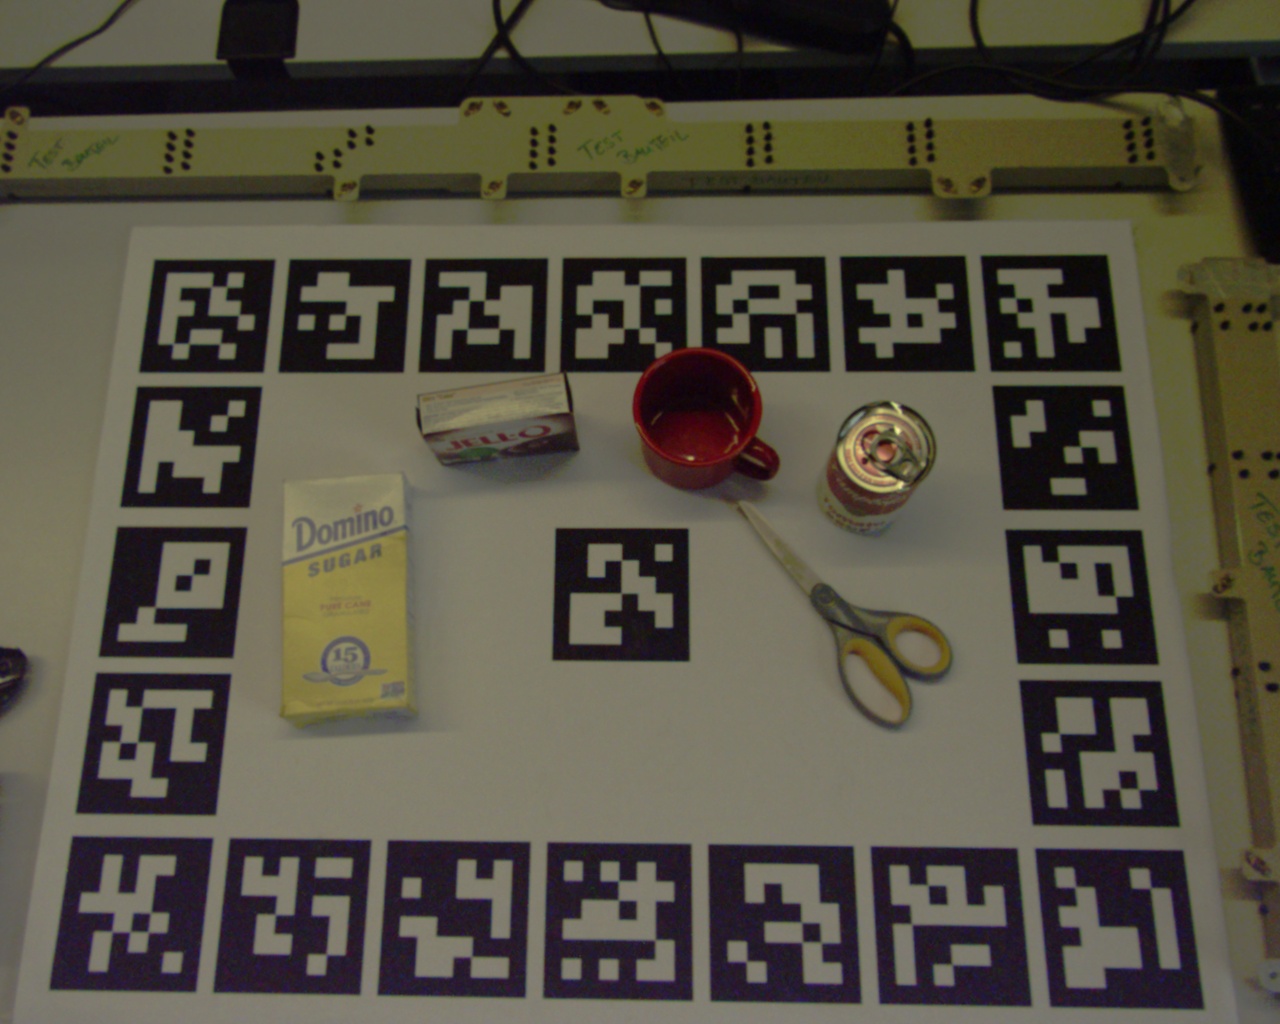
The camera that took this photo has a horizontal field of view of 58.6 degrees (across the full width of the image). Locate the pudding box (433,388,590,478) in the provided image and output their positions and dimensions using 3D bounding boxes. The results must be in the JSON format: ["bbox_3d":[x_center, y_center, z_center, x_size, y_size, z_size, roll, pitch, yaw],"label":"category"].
[{"bbox_3d":[-0.097,-0.060,0.875,0.114,0.090,0.039,-9,82,-1],"label":"pudding box"}]

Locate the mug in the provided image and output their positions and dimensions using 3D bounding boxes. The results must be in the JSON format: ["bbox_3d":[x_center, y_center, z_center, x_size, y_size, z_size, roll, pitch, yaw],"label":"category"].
[{"bbox_3d":[0.052,-0.057,0.876,0.093,0.081,0.118,-35,76,-5],"label":"mug"}]

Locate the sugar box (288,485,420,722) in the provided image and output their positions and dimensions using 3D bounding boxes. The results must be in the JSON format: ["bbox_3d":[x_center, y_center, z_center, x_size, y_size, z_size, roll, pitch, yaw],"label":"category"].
[{"bbox_3d":[-0.218,0.070,0.876,0.093,0.045,0.177,-3,77,3],"label":"sugar box"}]

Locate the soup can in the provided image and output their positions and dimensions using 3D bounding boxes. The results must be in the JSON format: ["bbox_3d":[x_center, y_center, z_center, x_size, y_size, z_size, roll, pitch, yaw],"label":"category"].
[{"bbox_3d":[0.168,-0.019,0.859,0.068,0.102,0.068,-1,74,2],"label":"soup can"}]

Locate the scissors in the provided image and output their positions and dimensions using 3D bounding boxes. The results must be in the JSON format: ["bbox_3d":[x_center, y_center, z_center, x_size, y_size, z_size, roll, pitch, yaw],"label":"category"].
[{"bbox_3d":[0.144,0.082,0.868,0.088,0.016,0.204,-43,79,1],"label":"scissors"}]
